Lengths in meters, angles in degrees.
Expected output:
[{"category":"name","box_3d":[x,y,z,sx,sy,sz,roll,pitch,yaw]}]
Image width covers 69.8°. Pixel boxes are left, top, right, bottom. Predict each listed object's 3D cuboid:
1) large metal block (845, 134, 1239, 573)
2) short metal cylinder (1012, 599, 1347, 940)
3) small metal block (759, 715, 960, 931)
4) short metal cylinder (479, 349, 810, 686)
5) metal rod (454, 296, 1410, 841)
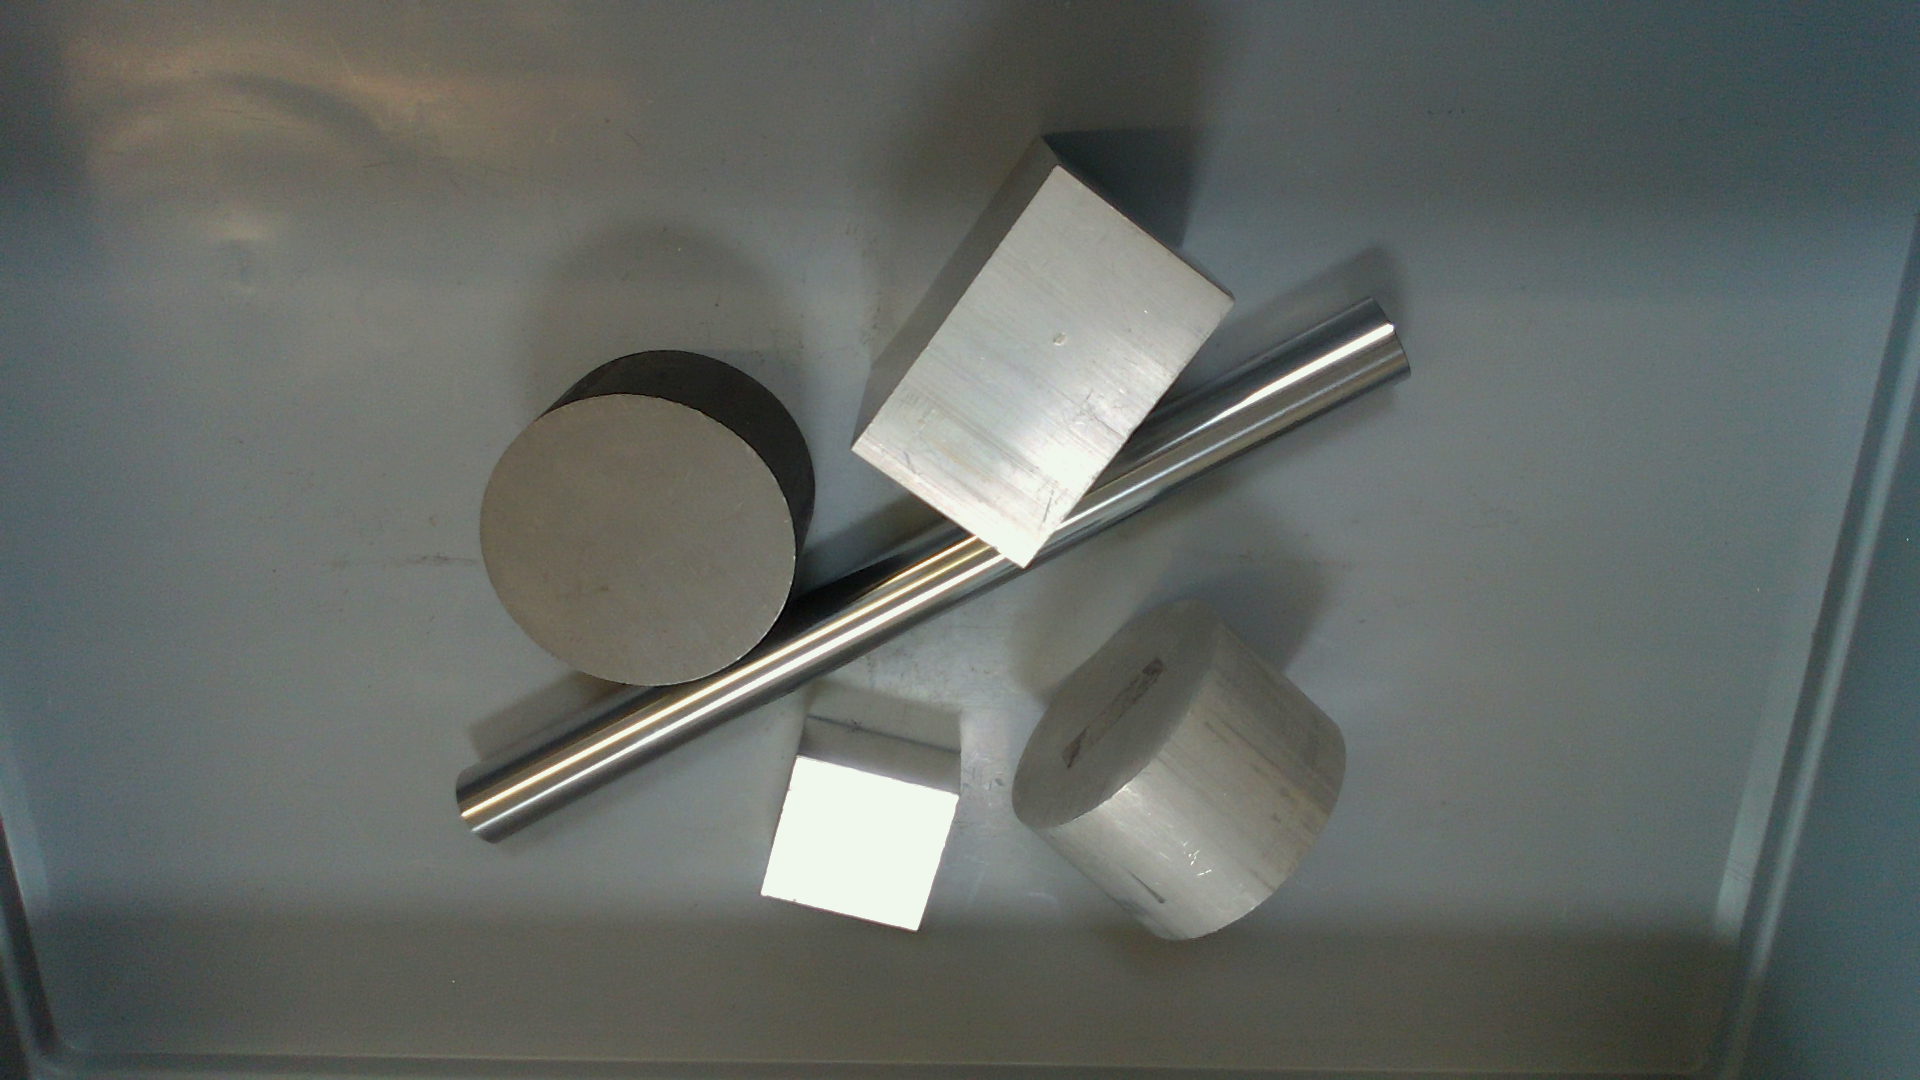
[{"category":"large metal block","box_3d":[0.018,-0.050,0.345,0.050,0.080,0.080,34,107,-12]},{"category":"short metal cylinder","box_3d":[0.061,0.064,0.387,0.050,0.080,0.080,41,105,-14]},{"category":"small metal block","box_3d":[-0.031,0.087,0.425,0.050,0.025,0.050,14,110,-5]},{"category":"short metal cylinder","box_3d":[-0.083,-0.007,0.376,0.080,0.050,0.080,0,110,0]},{"category":"metal rod","box_3d":[-0.015,0.013,0.398,0.300,0.025,0.025,-27,108,9]}]
